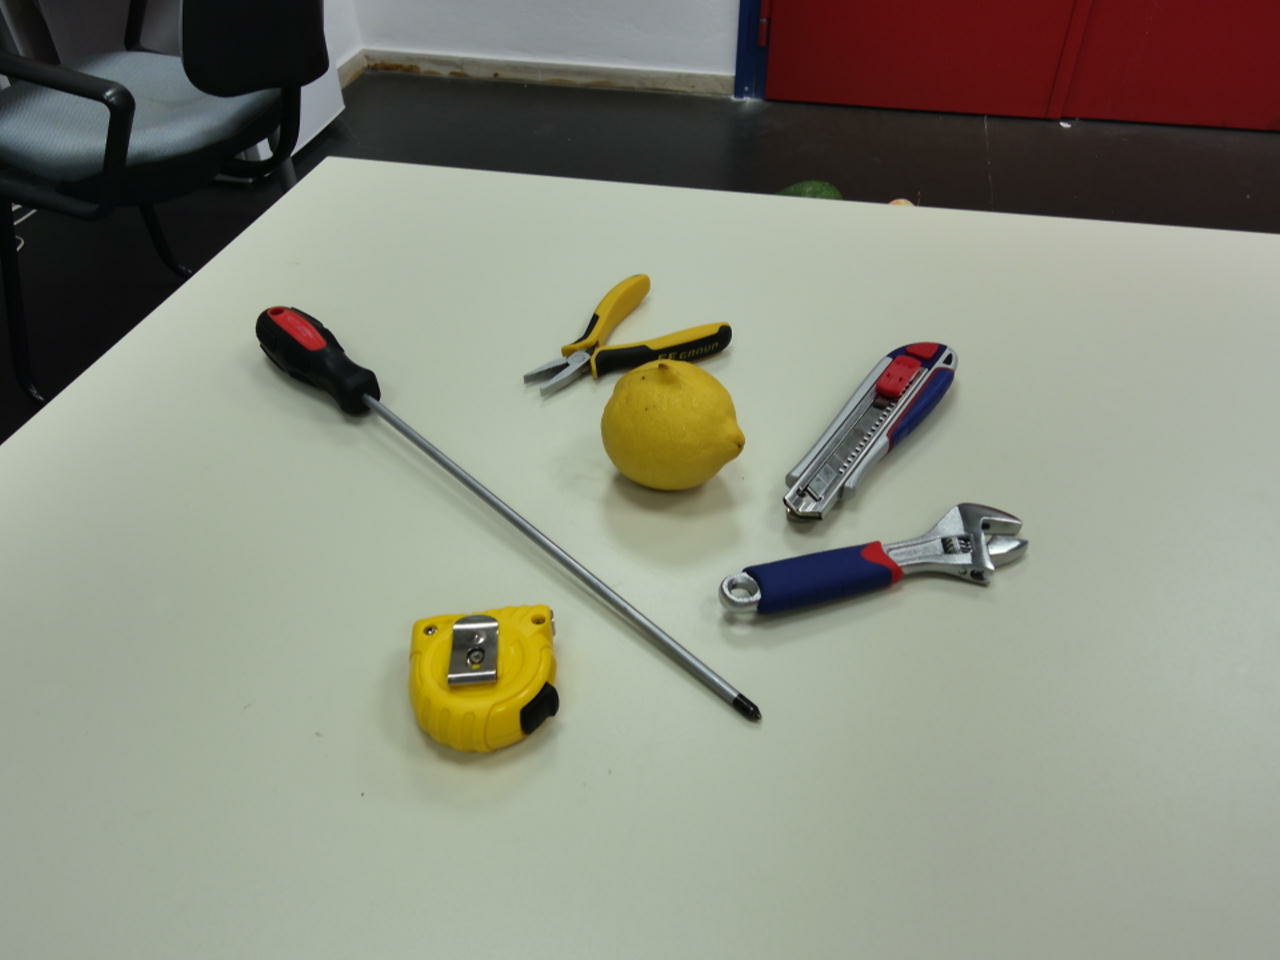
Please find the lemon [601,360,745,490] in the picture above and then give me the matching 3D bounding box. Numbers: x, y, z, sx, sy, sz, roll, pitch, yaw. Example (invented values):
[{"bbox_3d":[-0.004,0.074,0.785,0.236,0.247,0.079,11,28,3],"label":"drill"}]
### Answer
[{"bbox_3d":[0.015,-0.031,0.524,0.070,0.071,0.071,-13,41,-16],"label":"lemon"}]
